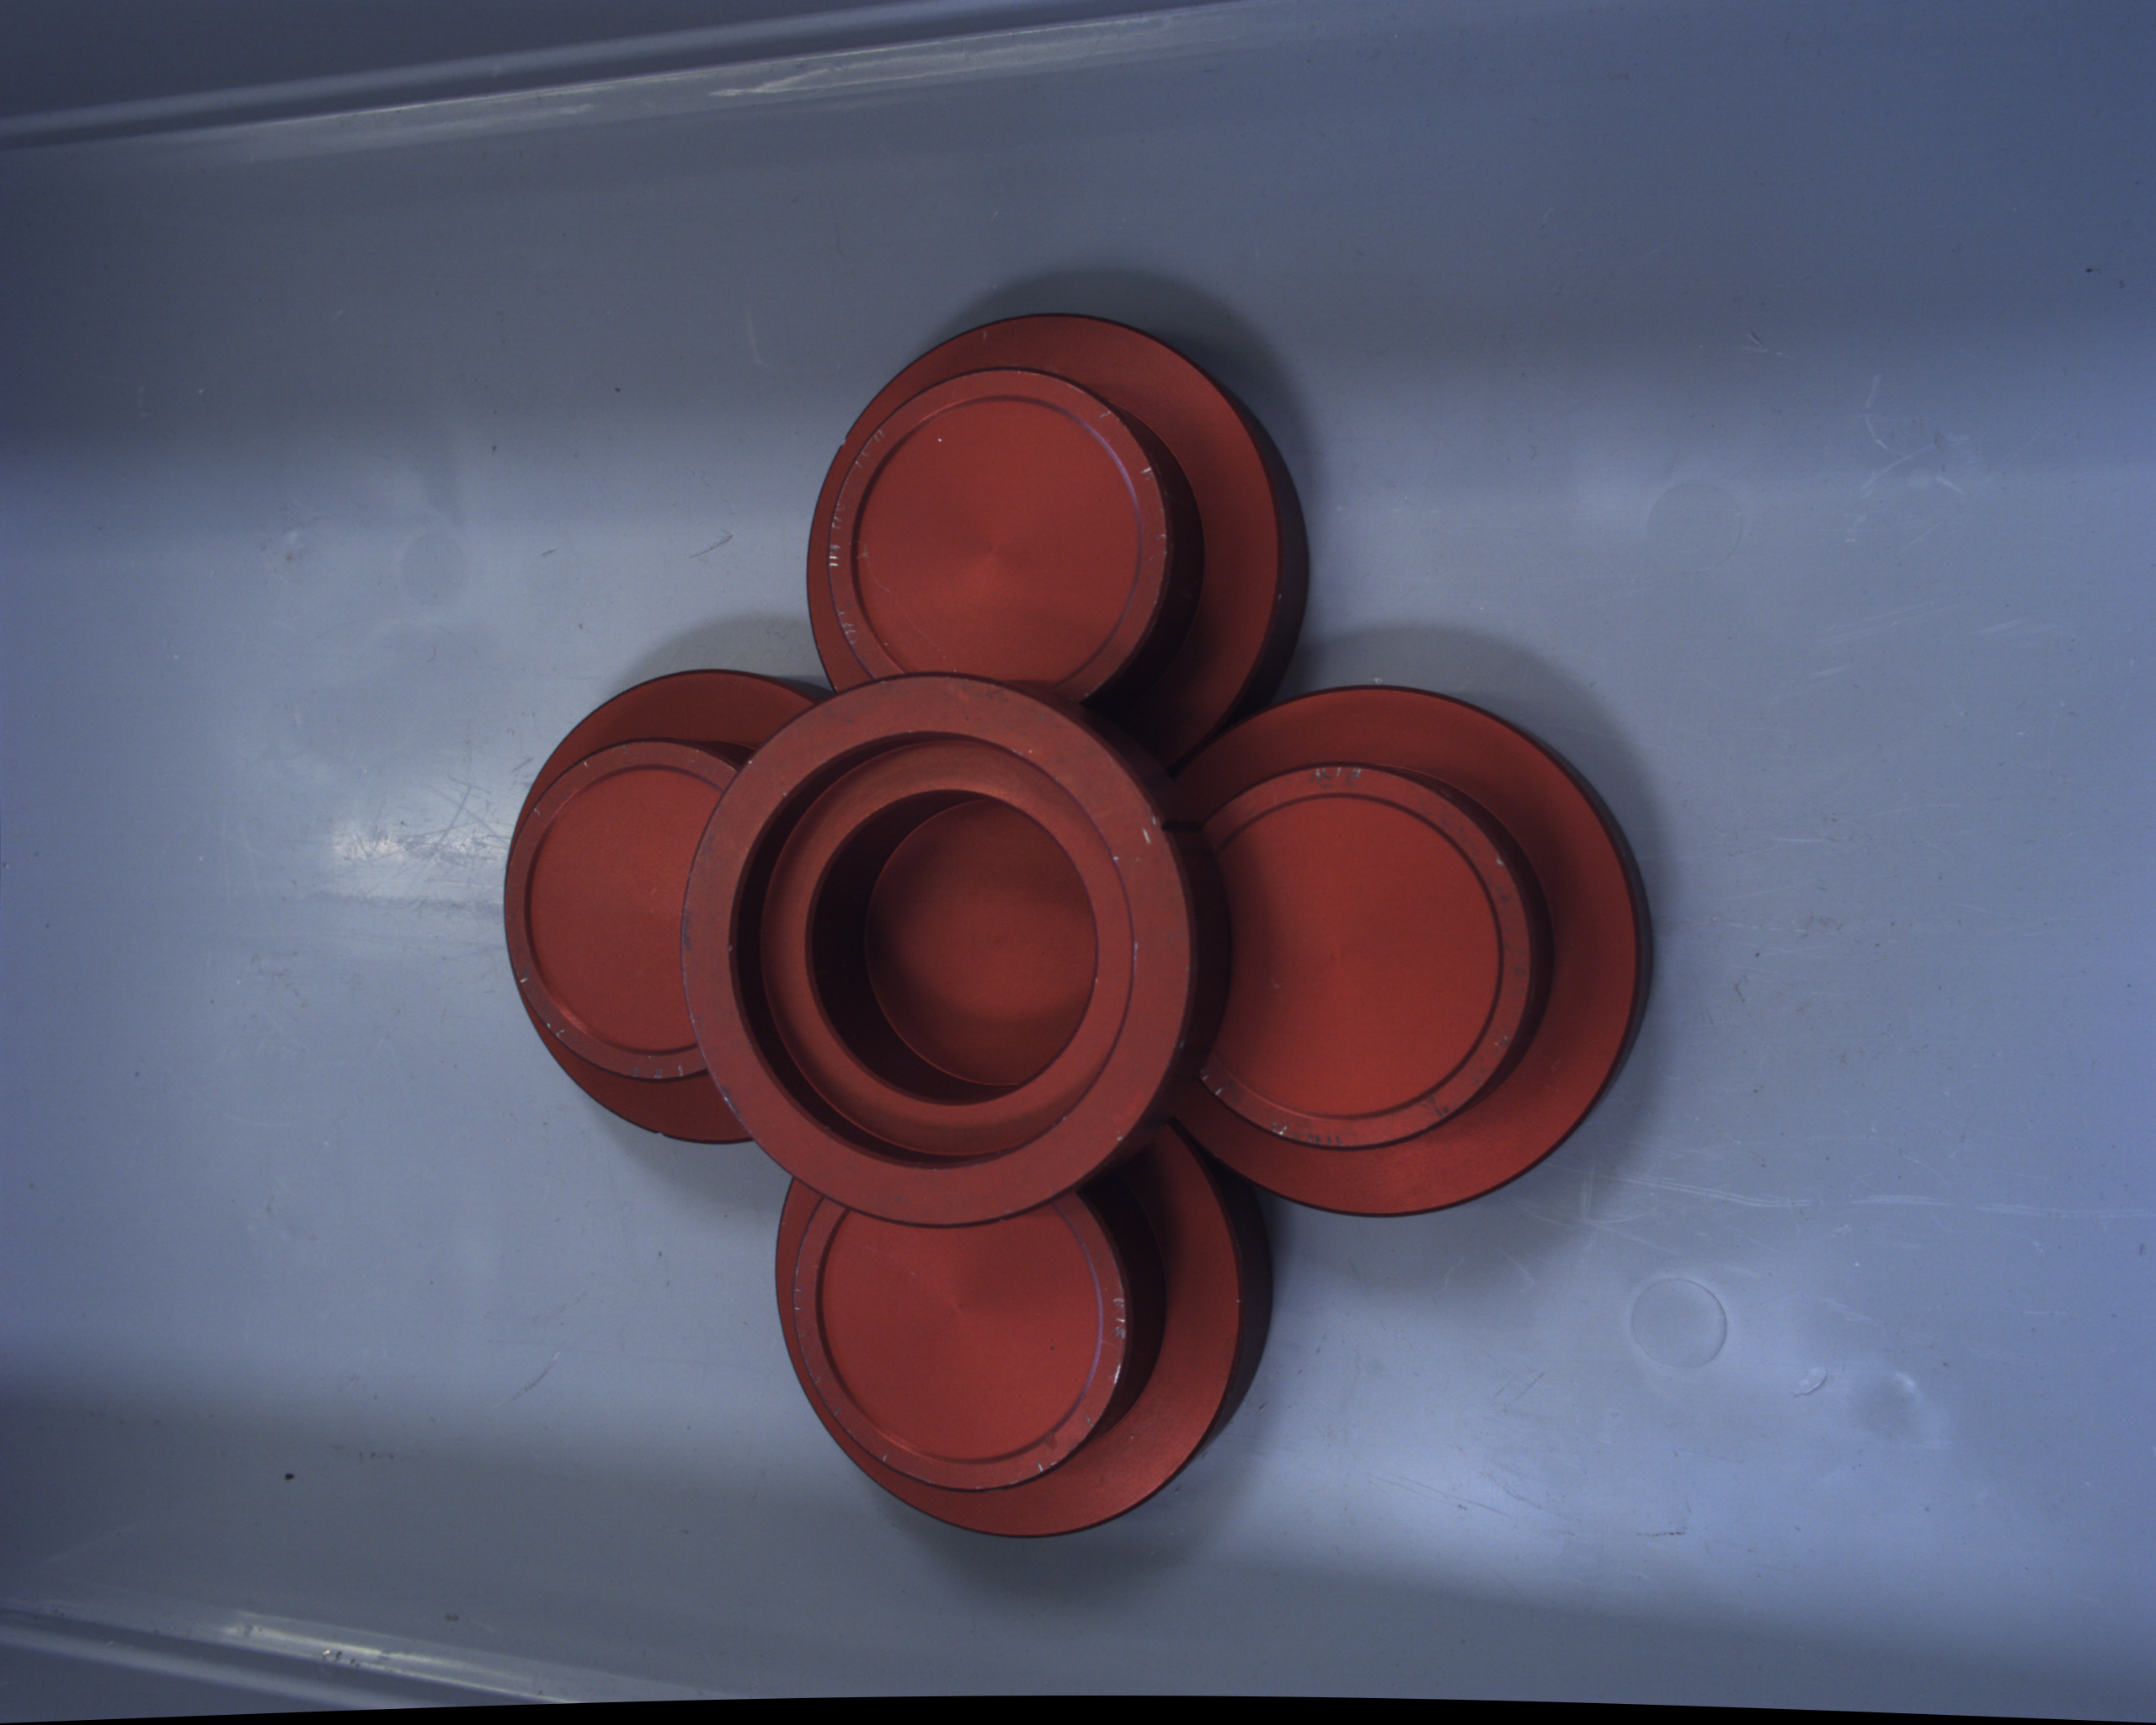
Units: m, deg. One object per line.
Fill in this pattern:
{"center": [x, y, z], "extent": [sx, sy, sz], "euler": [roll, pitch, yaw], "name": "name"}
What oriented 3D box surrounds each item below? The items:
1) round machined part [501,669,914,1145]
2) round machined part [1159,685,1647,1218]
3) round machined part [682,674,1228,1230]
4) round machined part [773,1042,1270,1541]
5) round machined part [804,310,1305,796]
{"center": [-0.077, 0.009, 0.426], "extent": [0.098, 0.042, 0.097], "euler": [0, 90, 20], "name": "round machined part"}
{"center": [0.052, 0.016, 0.381], "extent": [0.098, 0.042, 0.097], "euler": [0, 90, 20], "name": "round machined part"}
{"center": [-0.019, 0.015, 0.384], "extent": [0.098, 0.042, 0.097], "euler": [0, 90, 20], "name": "round machined part"}
{"center": [-0.015, 0.083, 0.405], "extent": [0.098, 0.042, 0.097], "euler": [-1, 88, 18], "name": "round machined part"}
{"center": [-0.009, -0.058, 0.401], "extent": [0.098, 0.042, 0.097], "euler": [0, 90, 20], "name": "round machined part"}
